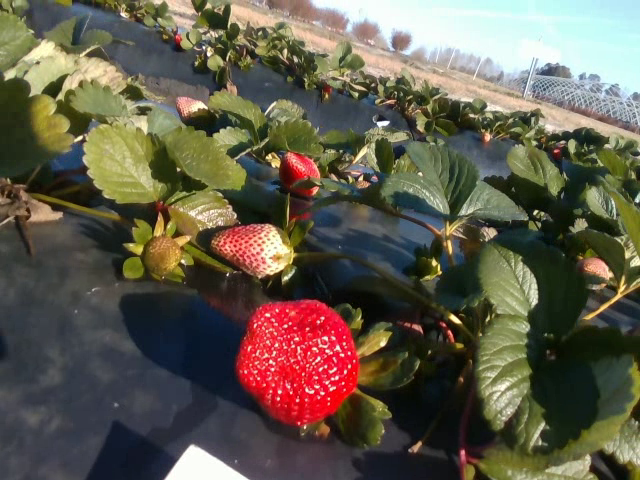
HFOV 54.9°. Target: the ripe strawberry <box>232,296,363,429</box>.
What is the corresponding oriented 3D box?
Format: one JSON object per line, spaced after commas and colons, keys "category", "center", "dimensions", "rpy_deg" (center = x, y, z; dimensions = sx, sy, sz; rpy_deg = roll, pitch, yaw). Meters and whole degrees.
{"category": "ripe strawberry", "center": [-0.012, 0.044, 0.227], "dimensions": [0.058, 0.065, 0.061], "rpy_deg": [-26, -32, 9]}
